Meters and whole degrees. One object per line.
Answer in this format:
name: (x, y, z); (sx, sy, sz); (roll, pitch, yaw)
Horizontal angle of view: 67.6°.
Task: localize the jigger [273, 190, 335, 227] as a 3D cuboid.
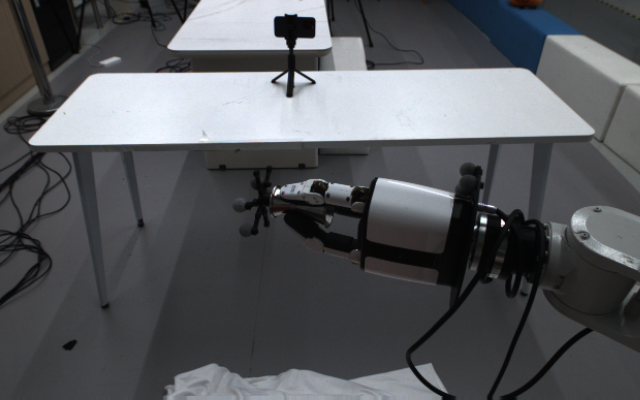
jigger: (-0.014, 0.001, 0.564); (0.071, 0.043, 0.043); (8, 35, 15)
